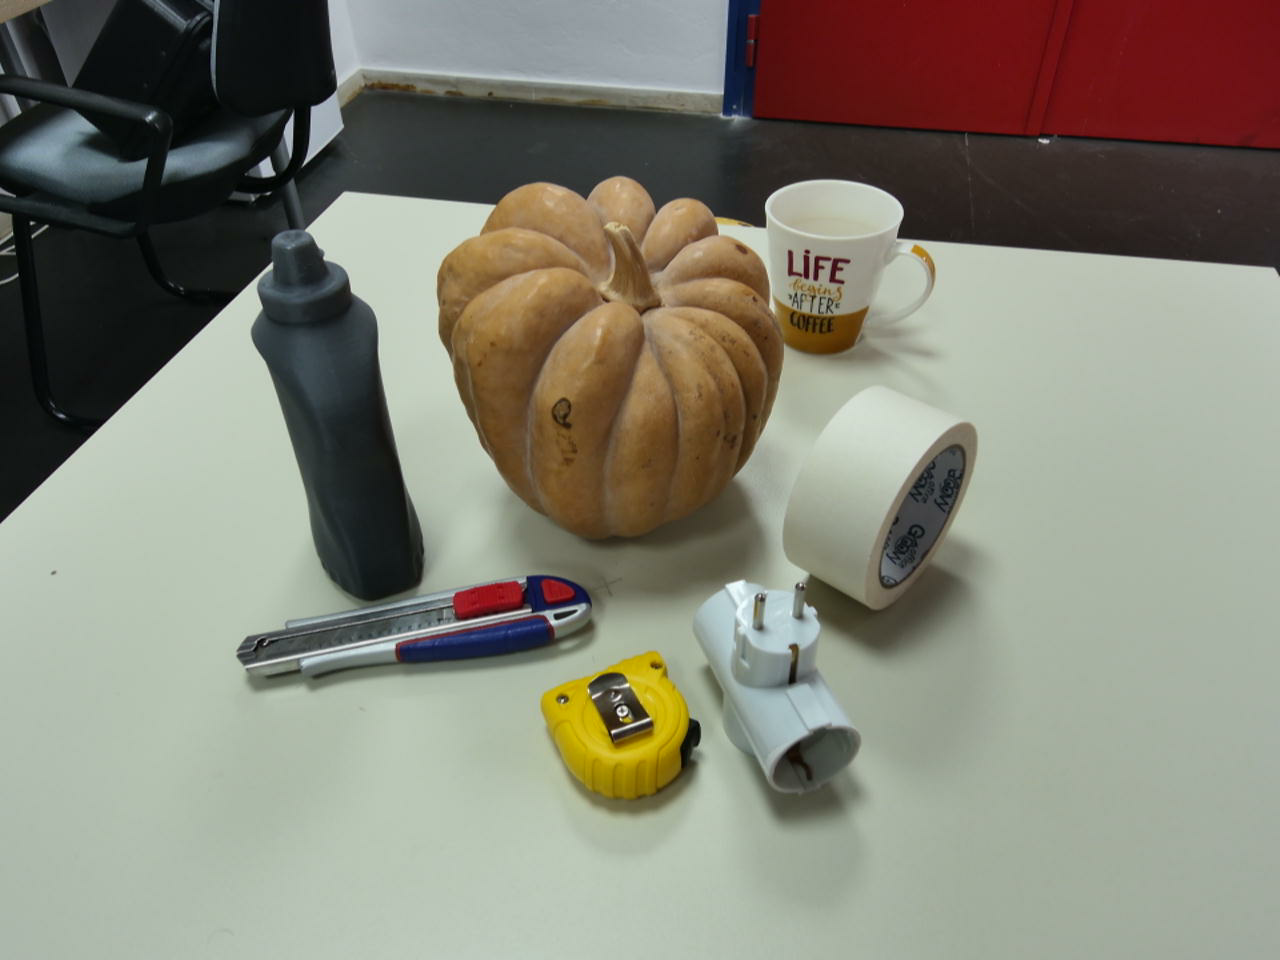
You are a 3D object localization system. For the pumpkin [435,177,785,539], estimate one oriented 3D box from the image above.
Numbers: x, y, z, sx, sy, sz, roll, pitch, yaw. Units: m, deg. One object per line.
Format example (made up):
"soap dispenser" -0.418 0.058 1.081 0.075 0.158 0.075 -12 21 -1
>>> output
"pumpkin" -0.015 -0.066 0.556 0.199 0.177 0.198 0 39 0
